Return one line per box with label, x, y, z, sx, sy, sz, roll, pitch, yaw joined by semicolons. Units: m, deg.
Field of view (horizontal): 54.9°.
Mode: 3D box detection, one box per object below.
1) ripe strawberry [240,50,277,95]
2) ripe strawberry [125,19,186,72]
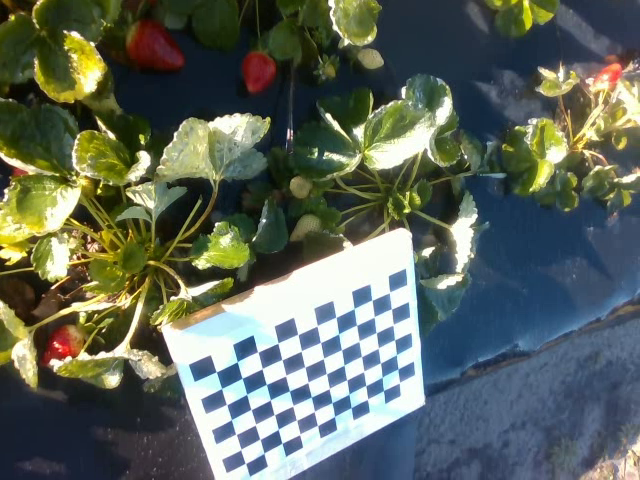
ripe strawberry;-0.058;-0.159;0.586;0.039;0.047;0.040;19;-3;-35
ripe strawberry;-0.144;-0.170;0.548;0.056;0.044;0.040;32;0;-35
